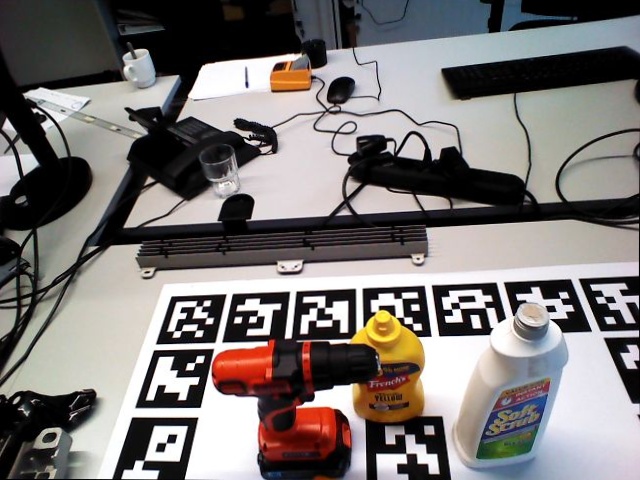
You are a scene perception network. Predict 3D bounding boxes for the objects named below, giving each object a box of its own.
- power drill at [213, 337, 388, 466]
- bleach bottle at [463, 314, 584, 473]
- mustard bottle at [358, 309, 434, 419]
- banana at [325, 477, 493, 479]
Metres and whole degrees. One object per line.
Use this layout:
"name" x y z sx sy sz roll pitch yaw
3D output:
"power drill" -0.016 0.182 0.588 0.185 0.187 0.057 -3 37 4
"bleach bottle" 0.214 0.167 0.554 0.103 0.251 0.067 -9 45 2
"mustard bottle" 0.092 0.148 0.629 0.096 0.192 0.058 -2 44 8
"banana" 0.097 0.300 0.578 0.198 0.039 0.074 -2 48 12
